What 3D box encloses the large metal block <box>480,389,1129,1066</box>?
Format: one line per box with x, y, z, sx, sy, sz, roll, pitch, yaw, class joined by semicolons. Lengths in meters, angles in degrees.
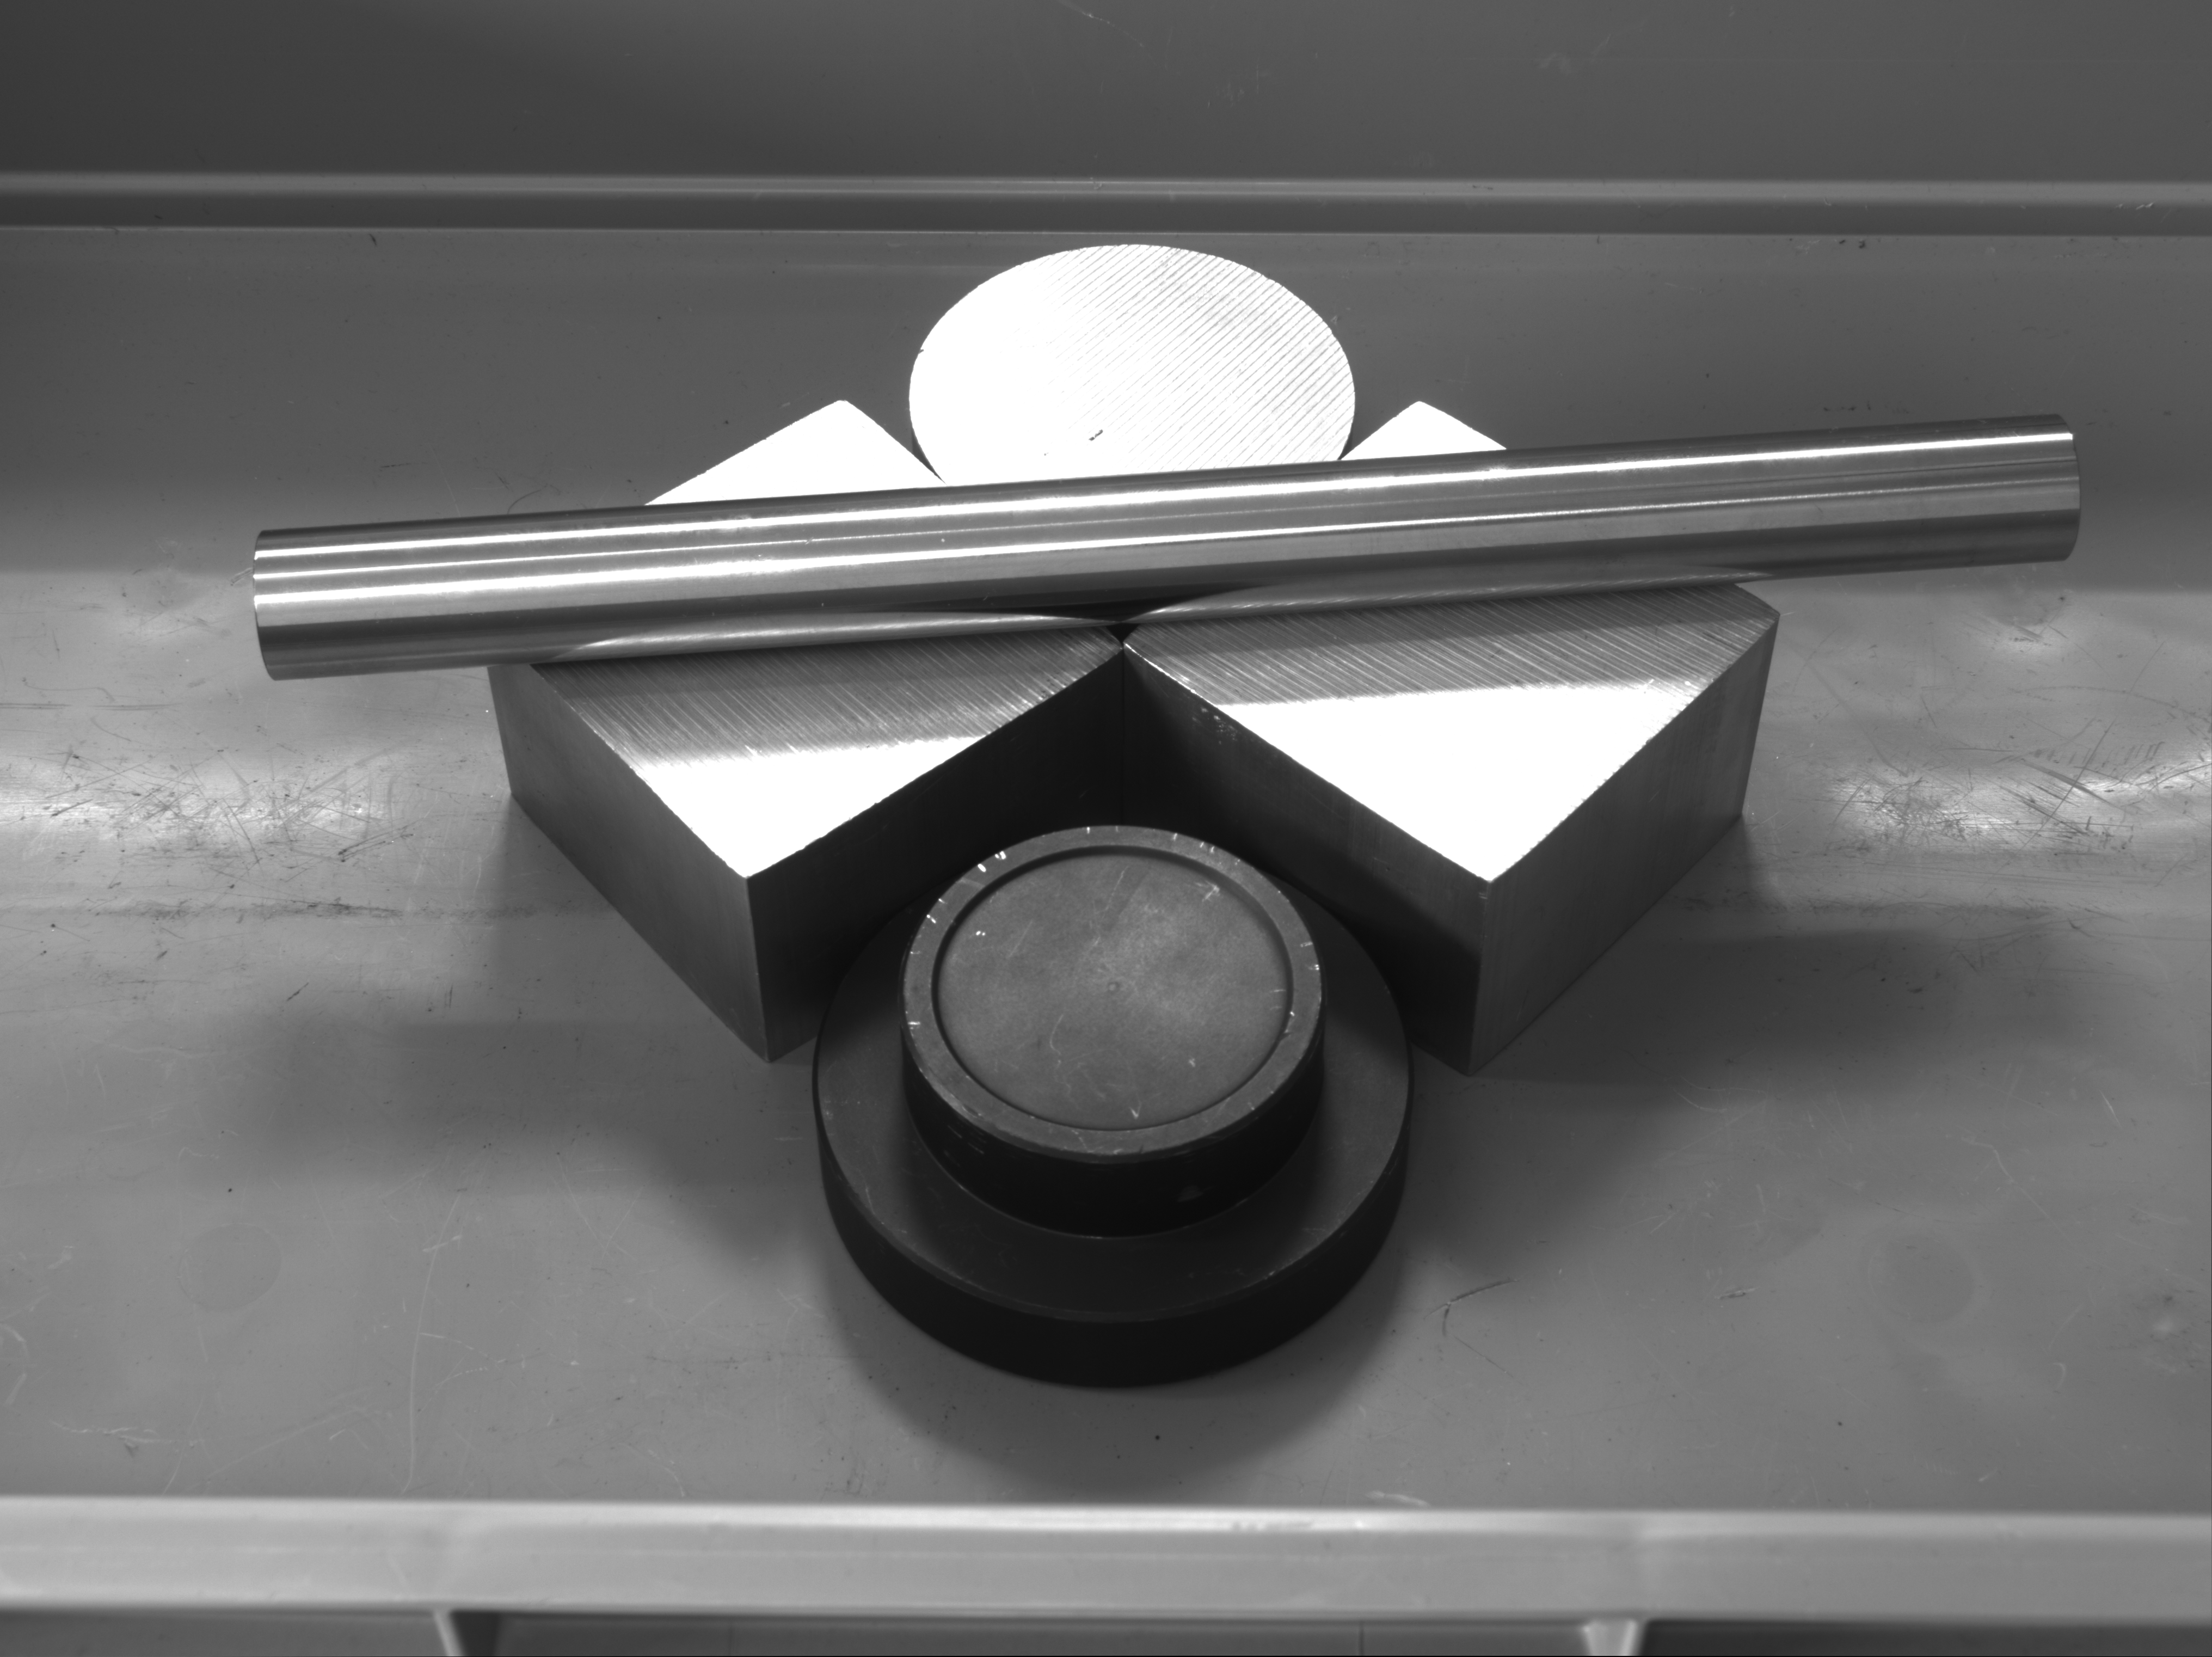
-0.053;-0.019;0.640;0.080;0.050;0.080;-32;58;-24;large metal block

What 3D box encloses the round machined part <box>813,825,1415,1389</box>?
0.001;0.038;0.597;0.098;0.042;0.098;0;50;0;round machined part

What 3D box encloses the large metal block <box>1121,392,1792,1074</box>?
0.059;-0.018;0.636;0.080;0.050;0.080;35;59;26;large metal block

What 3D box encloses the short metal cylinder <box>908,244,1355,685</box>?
0.005;-0.062;0.677;0.080;0.050;0.080;0;50;0;short metal cylinder

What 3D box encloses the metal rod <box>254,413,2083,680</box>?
0.011;-0.047;0.613;0.300;0.025;0.025;-4;50;-2;metal rod
